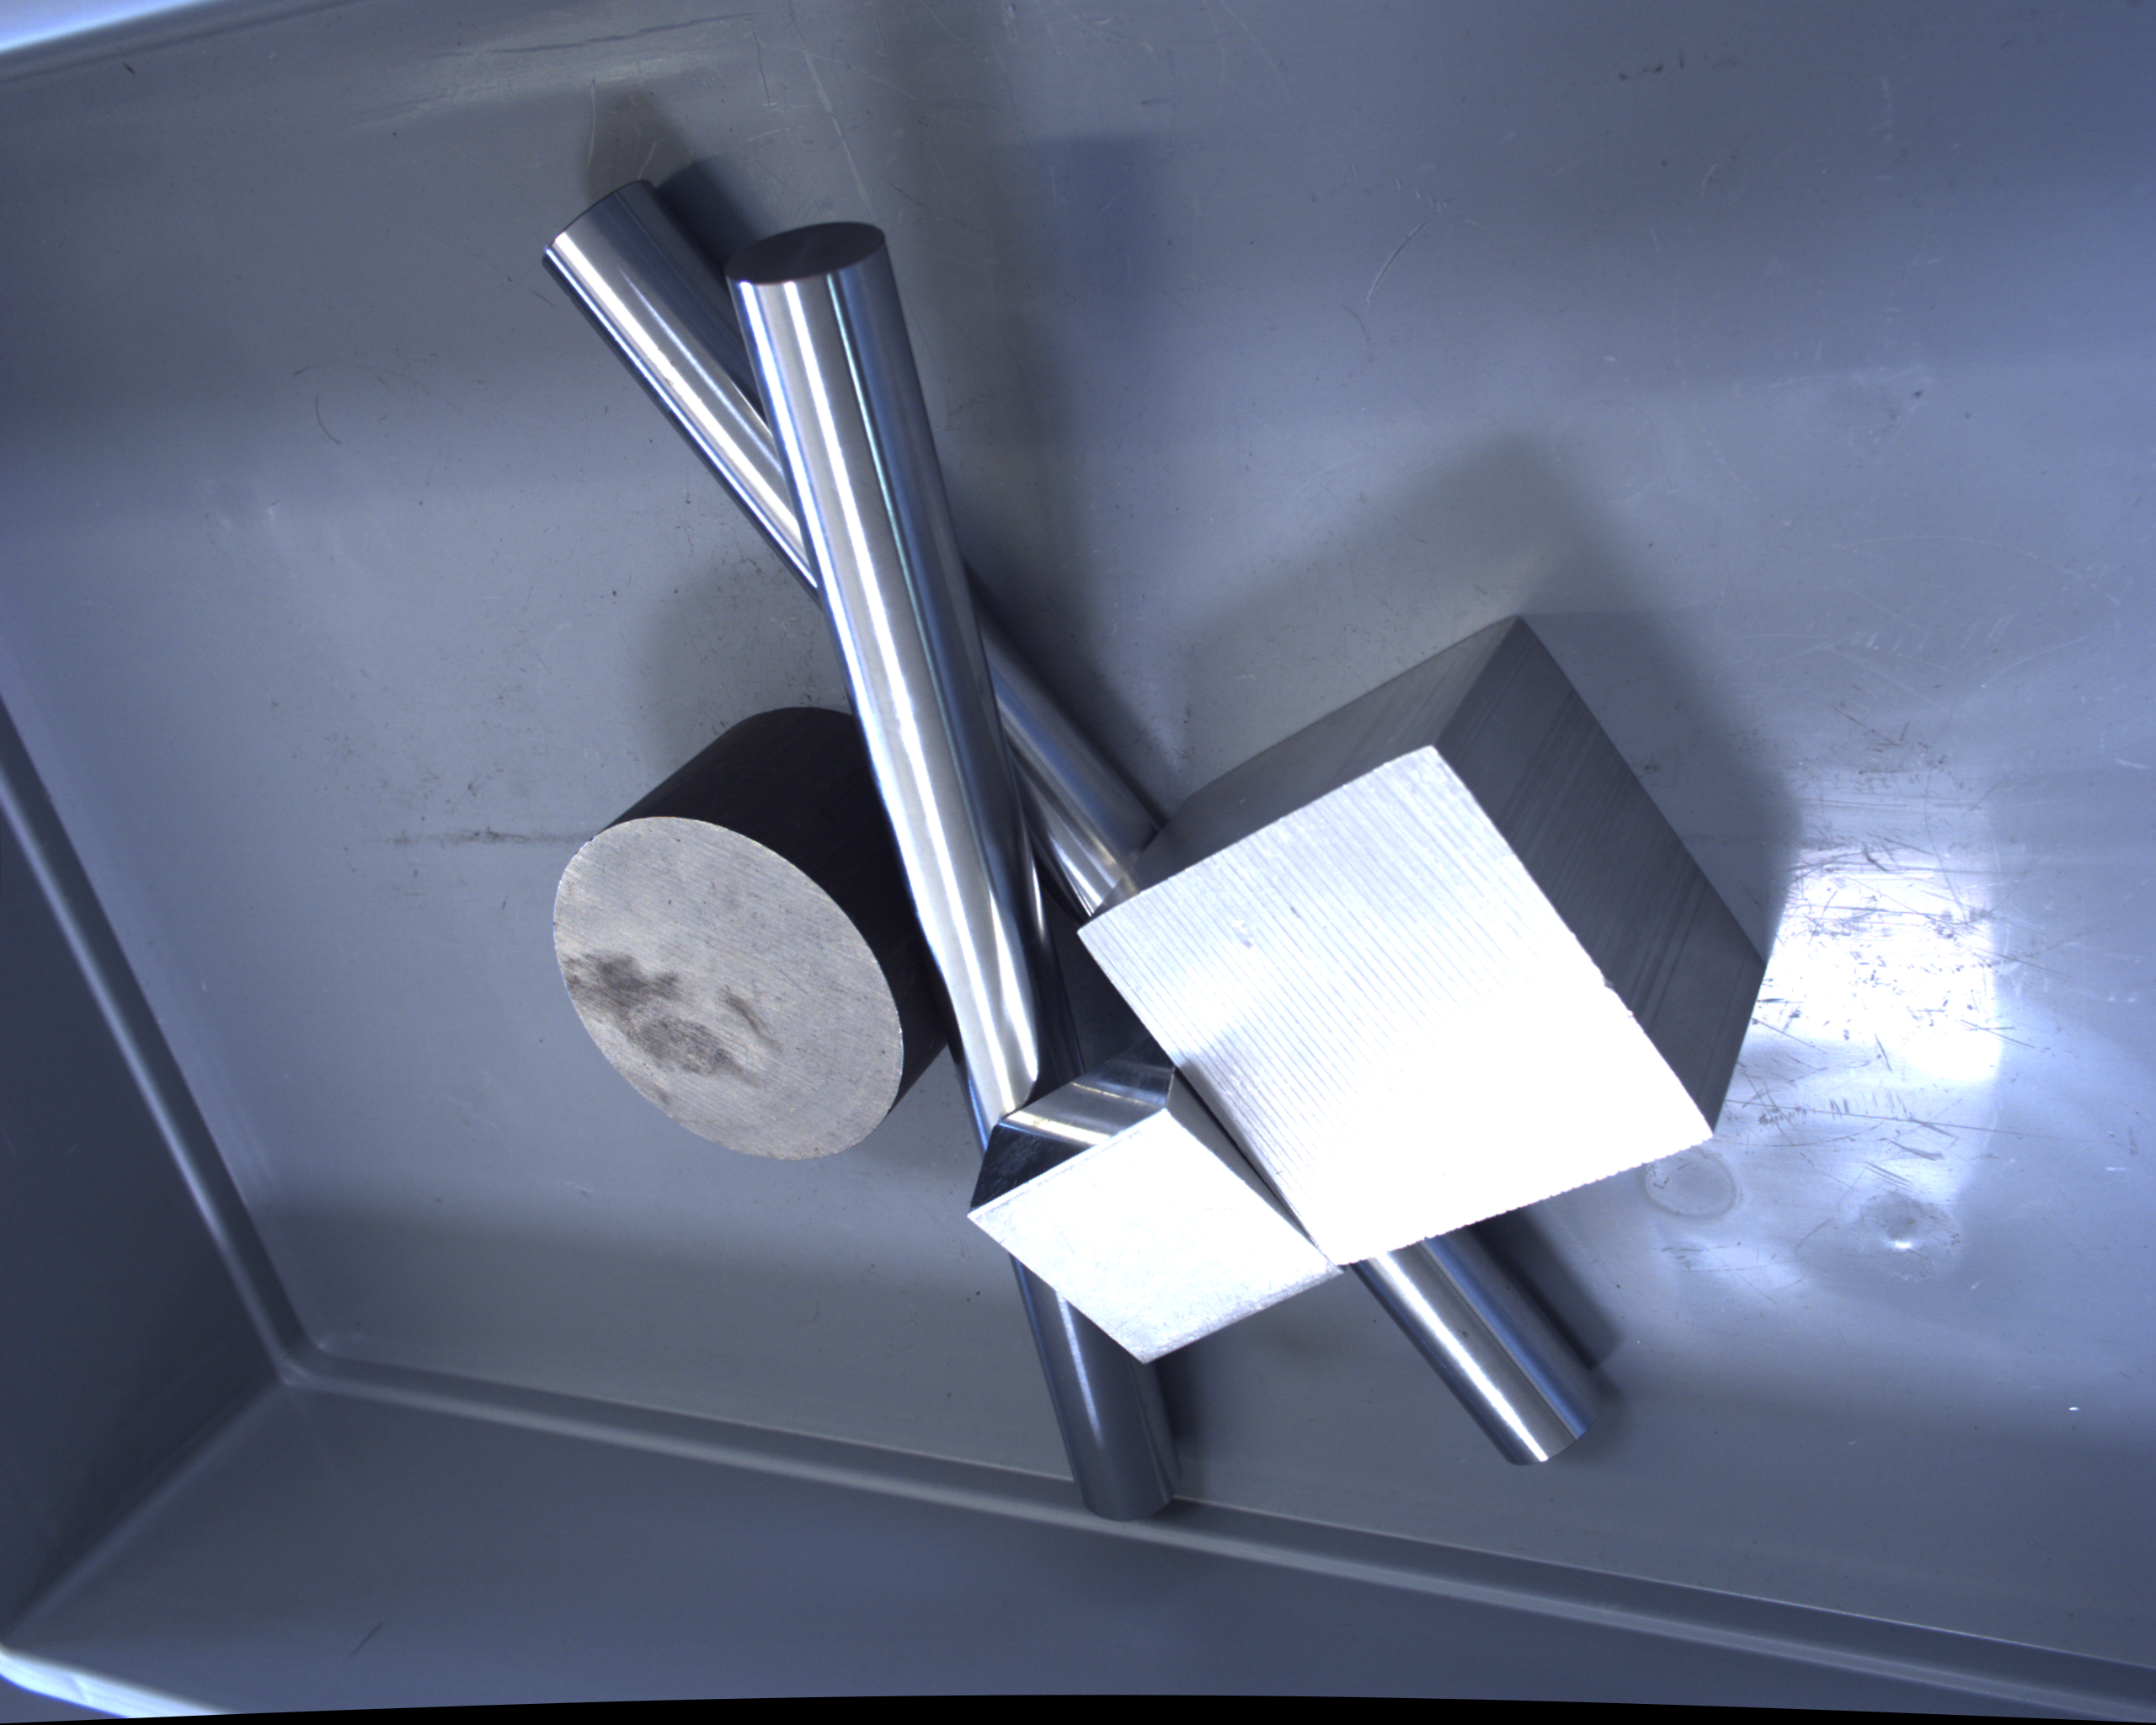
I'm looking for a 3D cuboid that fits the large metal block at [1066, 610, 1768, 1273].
[{"bbox_3d":[0.060,0.016,0.368,0.080,0.050,0.080,-30,102,38],"label":"large metal block"}]

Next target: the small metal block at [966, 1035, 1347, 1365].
[{"bbox_3d":[0.016,0.063,0.396,0.050,0.025,0.050,-33,115,30],"label":"small metal block"}]

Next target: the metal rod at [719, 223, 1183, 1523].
[{"bbox_3d":[-0.015,0.026,0.405,0.025,0.025,0.298,6,129,25],"label":"metal rod"}]

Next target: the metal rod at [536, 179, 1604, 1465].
[{"bbox_3d":[0.004,-0.001,0.403,0.025,0.025,0.300,-32,102,38],"label":"metal rod"}]

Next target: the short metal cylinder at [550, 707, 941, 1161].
[{"bbox_3d":[-0.060,0.014,0.431,0.080,0.050,0.079,13,124,20],"label":"short metal cylinder"}]
